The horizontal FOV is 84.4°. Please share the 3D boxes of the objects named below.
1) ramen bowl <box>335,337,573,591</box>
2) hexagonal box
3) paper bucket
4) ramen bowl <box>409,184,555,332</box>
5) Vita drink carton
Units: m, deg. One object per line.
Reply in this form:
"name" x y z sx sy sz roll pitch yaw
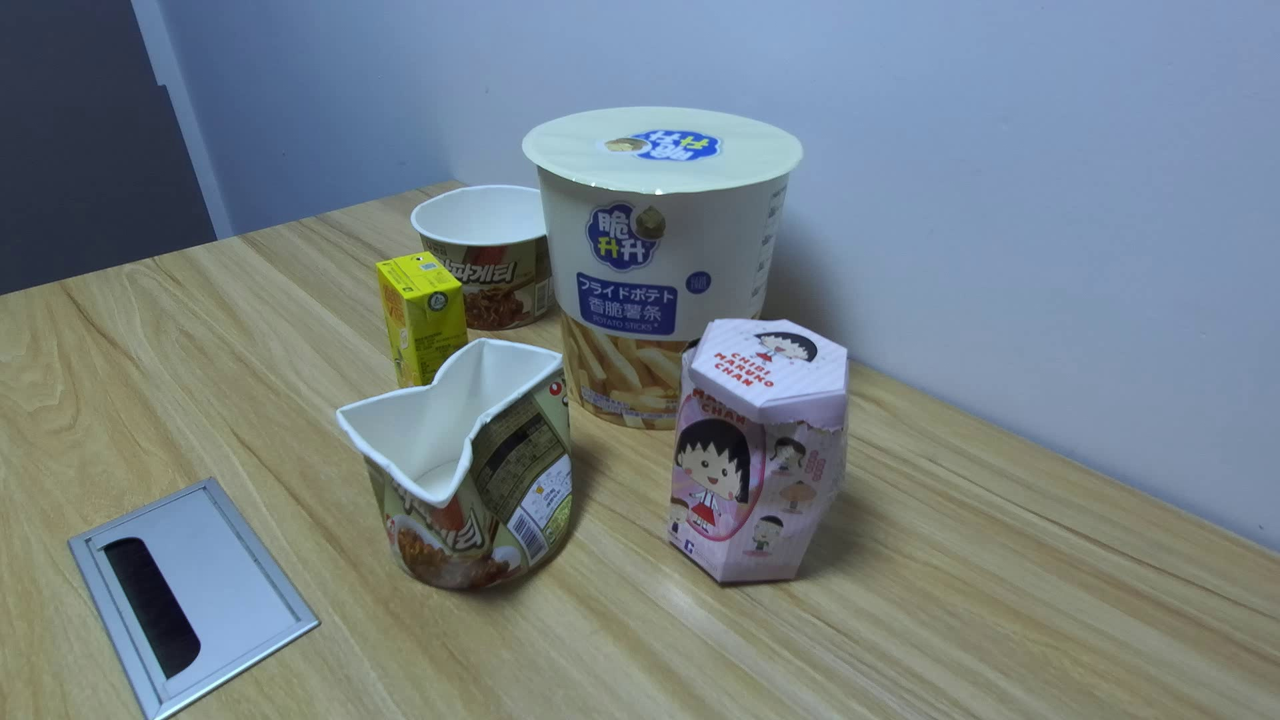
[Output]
"ramen bowl" -0.094 0.060 0.425 0.111 0.093 0.129 26 41 32
"hexagonal box" 0.066 0.051 0.409 0.090 0.134 0.091 2 33 -4
"paper bucket" 0.015 -0.068 0.532 0.198 0.195 0.198 1 34 0
"ramen bowl" -0.133 -0.095 0.662 0.140 0.095 0.140 1 34 0
"Vita drink carton" -0.158 -0.017 0.527 0.044 0.109 0.066 -20 40 -29
